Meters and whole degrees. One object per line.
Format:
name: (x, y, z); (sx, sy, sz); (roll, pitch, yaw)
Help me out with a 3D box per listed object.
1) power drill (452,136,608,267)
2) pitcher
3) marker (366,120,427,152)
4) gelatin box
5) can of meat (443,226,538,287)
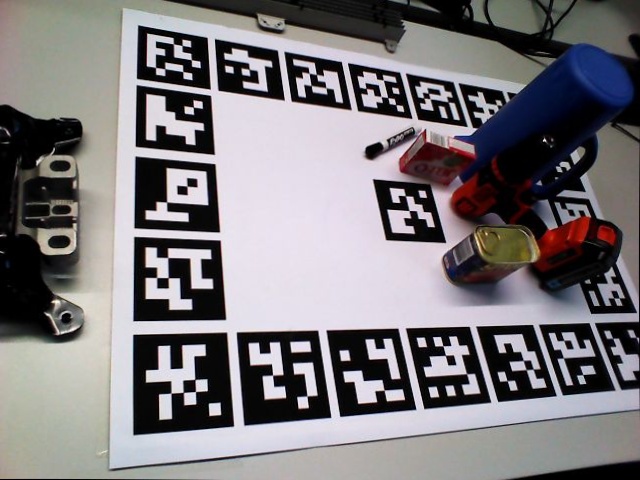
power drill: (0.305, -0.050, 0.726); (0.187, 0.186, 0.057); (37, 59, -9)
pitcher: (0.345, -0.150, 0.767); (0.189, 0.244, 0.132); (29, 60, 1)
marker: (0.119, -0.161, 0.800); (0.120, 0.020, 0.019); (-25, 77, -30)
gelatin box: (0.184, -0.120, 0.777); (0.089, 0.074, 0.030); (14, 64, -18)
can of meat: (0.233, 0.025, 0.714); (0.101, 0.084, 0.057); (2, 62, -23)
